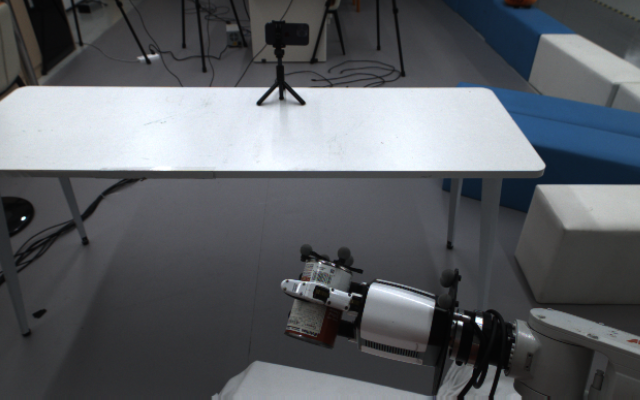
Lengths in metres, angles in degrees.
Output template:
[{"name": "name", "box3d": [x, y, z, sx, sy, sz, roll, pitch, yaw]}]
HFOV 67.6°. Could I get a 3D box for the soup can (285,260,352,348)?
[{"name": "soup can", "box3d": [0.001, 0.137, 0.638, 0.067, 0.067, 0.101, 12, 70, 14]}]
